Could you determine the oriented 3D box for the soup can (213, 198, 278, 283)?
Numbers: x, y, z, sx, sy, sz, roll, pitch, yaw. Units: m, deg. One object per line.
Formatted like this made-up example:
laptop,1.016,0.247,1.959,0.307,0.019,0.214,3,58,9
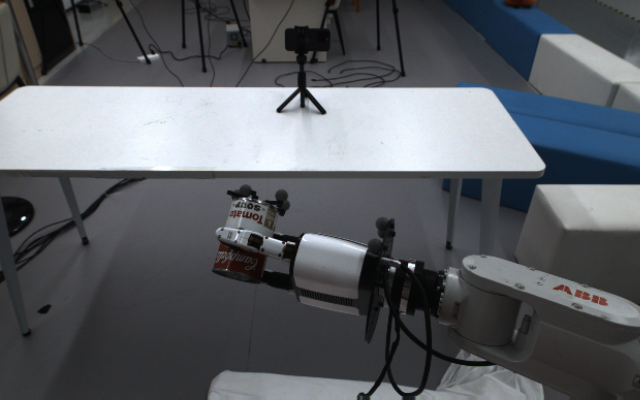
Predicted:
soup can,-0.098,0.056,0.653,0.067,0.067,0.101,9,72,10
